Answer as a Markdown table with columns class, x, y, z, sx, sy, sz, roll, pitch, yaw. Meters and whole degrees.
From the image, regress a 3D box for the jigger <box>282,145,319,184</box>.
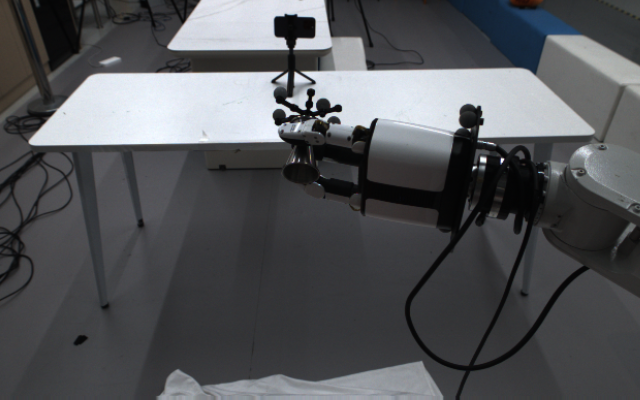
| class | x | y | z | sx | sy | sz | roll | pitch | yaw |
| --- | --- | --- | --- | --- | --- | --- | --- | --- | --- |
| jigger | -0.020 | -0.061 | 0.560 | 0.043 | 0.043 | 0.071 | 4 | 61 | 3 |
